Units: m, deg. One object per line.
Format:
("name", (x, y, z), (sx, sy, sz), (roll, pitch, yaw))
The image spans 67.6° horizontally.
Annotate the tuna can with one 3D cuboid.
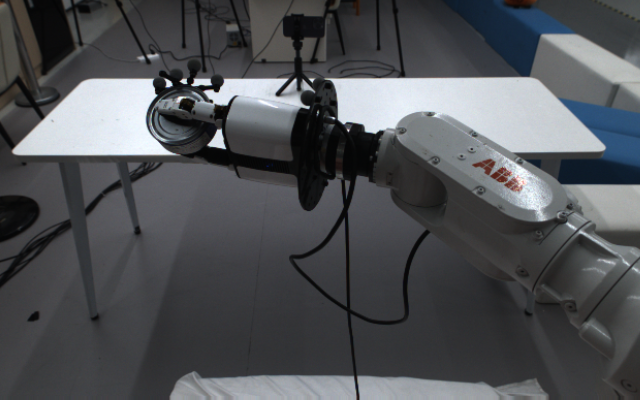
("tuna can", (-0.176, -0.102, 0.629), (0.085, 0.034, 0.085), (-2, 69, 6))
